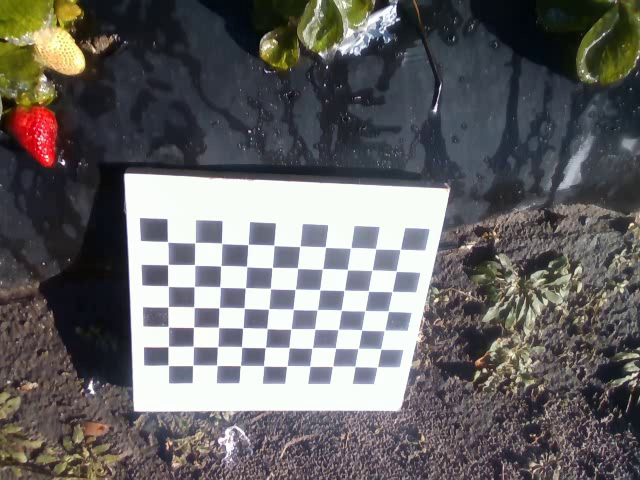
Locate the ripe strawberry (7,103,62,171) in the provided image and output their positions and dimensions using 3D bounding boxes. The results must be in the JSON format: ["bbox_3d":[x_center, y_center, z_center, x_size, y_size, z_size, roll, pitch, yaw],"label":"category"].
[{"bbox_3d":[-0.229,-0.077,0.553,0.041,0.052,0.040,-14,24,-1],"label":"ripe strawberry"}]
